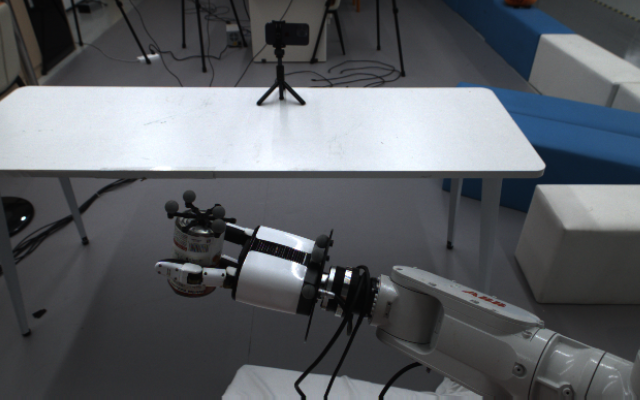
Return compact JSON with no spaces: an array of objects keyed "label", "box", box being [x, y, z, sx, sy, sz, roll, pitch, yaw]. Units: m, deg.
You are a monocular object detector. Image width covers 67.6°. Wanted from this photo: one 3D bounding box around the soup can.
[{"label":"soup can","box":[-0.168,0.074,0.659,0.067,0.101,0.067,12,25,-6]}]
